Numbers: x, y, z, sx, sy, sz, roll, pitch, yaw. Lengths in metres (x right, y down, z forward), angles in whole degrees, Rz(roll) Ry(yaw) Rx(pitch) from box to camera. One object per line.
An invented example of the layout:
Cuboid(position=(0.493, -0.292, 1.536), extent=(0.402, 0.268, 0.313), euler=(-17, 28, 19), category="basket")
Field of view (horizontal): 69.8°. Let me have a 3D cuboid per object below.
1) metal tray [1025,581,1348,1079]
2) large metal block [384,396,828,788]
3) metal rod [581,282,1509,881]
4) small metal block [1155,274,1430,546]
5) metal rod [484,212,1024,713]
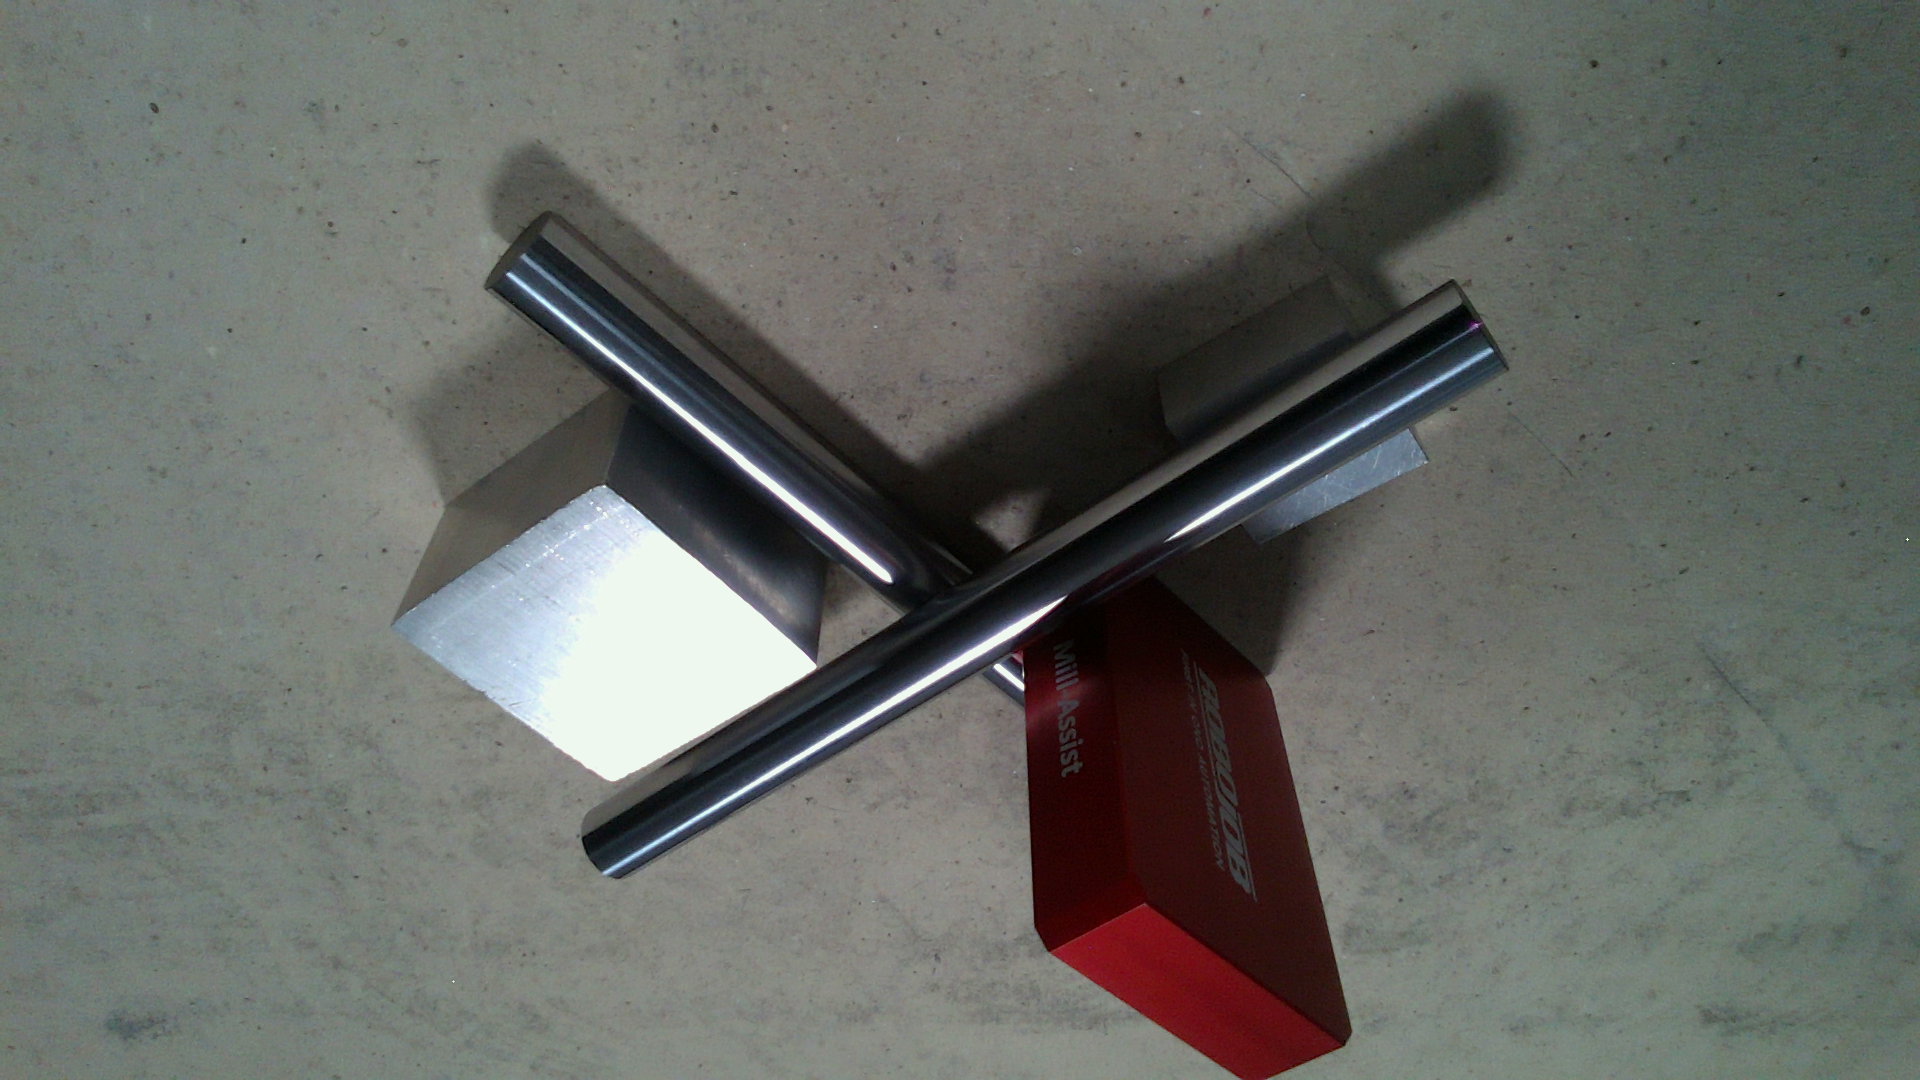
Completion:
Cuboid(position=(0.059, 0.070, 0.380), extent=(0.030, 0.130, 0.090), euler=(-35, 122, 26), category="metal tray")
Cuboid(position=(-0.094, 0.013, 0.384), extent=(0.080, 0.050, 0.080), euler=(-30, 124, 23), category="large metal block")
Cuboid(position=(0.005, 0.024, 0.378), extent=(0.299, 0.025, 0.025), euler=(-32, 123, 24), category="metal rod")
Cuboid(position=(0.087, -0.033, 0.363), extent=(0.050, 0.025, 0.050), euler=(-29, 125, 22), category="small metal block")
Cuboid(position=(-0.006, 0.015, 0.404), extent=(0.025, 0.025, 0.301), euler=(-34, 122, 26), category="metal rod")
